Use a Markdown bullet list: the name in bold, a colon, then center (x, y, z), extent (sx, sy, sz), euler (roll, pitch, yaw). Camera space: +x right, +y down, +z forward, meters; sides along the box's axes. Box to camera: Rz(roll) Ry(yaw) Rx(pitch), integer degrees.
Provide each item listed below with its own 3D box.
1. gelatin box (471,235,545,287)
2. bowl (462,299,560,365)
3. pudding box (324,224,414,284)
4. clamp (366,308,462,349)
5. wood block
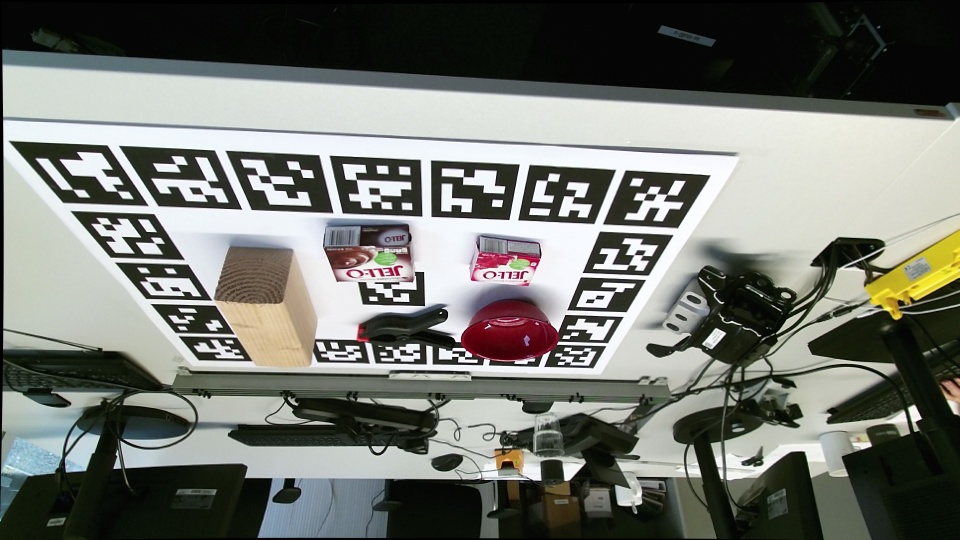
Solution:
- **gelatin box**: center (0.038, -0.010, 0.756), extent (0.090, 0.030, 0.073), euler (7, 141, -10)
- **bowl**: center (0.050, 0.097, 0.892), extent (0.162, 0.055, 0.162), euler (0, 141, 0)
- **pudding box**: center (-0.148, -0.021, 0.732), extent (0.114, 0.038, 0.090), euler (0, 140, -5)
- **clamp**: center (-0.115, 0.108, 0.921), extent (0.166, 0.036, 0.122), euler (-3, 144, 6)
- **wood block**: center (-0.315, 0.064, 0.799), extent (0.090, 0.090, 0.206), euler (4, 143, -5)
